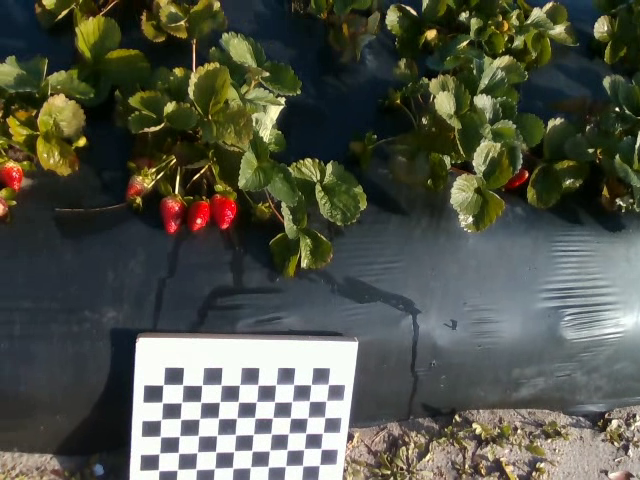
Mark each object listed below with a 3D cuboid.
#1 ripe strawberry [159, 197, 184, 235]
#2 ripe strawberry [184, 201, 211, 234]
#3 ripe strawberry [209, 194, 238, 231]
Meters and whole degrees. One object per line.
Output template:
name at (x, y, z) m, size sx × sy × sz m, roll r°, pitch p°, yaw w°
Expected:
ripe strawberry at (-0.169, -0.028, 0.670) m, size 0.032 × 0.045 × 0.023 m, roll 2°, pitch -5°, yaw -10°
ripe strawberry at (-0.139, -0.027, 0.668) m, size 0.031 × 0.037 × 0.039 m, roll 13°, pitch 33°, yaw -11°
ripe strawberry at (-0.112, -0.026, 0.677) m, size 0.035 × 0.041 × 0.034 m, roll -2°, pitch -40°, yaw -9°
